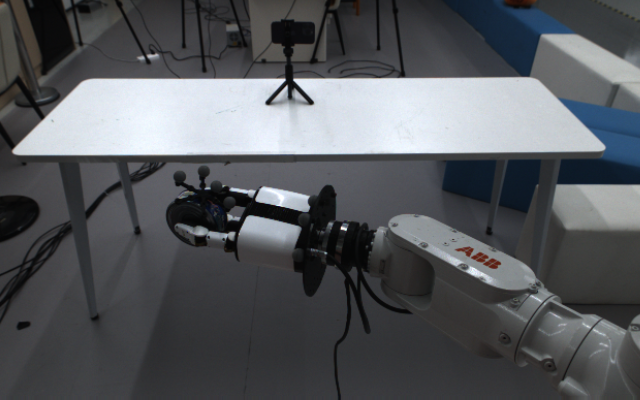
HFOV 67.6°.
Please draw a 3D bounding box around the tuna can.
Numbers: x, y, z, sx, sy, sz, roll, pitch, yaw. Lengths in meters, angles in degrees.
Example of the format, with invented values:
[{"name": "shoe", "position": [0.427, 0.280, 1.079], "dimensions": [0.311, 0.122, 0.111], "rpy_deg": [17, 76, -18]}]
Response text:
[{"name": "tuna can", "position": [-0.182, 0.028, 0.715], "dimensions": [0.085, 0.085, 0.034], "rpy_deg": [11, 35, 13]}]
